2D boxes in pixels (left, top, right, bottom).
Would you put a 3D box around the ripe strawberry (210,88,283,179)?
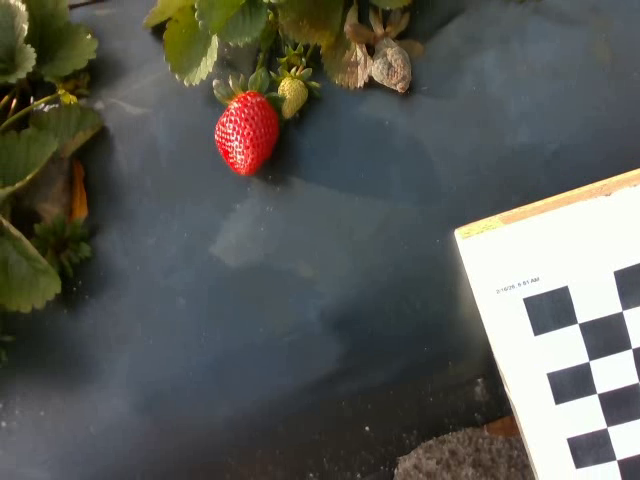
[{"bbox_3d":[-0.042,-0.056,0.357,0.045,0.058,0.051,-16,-31,9],"label":"ripe strawberry"}]
